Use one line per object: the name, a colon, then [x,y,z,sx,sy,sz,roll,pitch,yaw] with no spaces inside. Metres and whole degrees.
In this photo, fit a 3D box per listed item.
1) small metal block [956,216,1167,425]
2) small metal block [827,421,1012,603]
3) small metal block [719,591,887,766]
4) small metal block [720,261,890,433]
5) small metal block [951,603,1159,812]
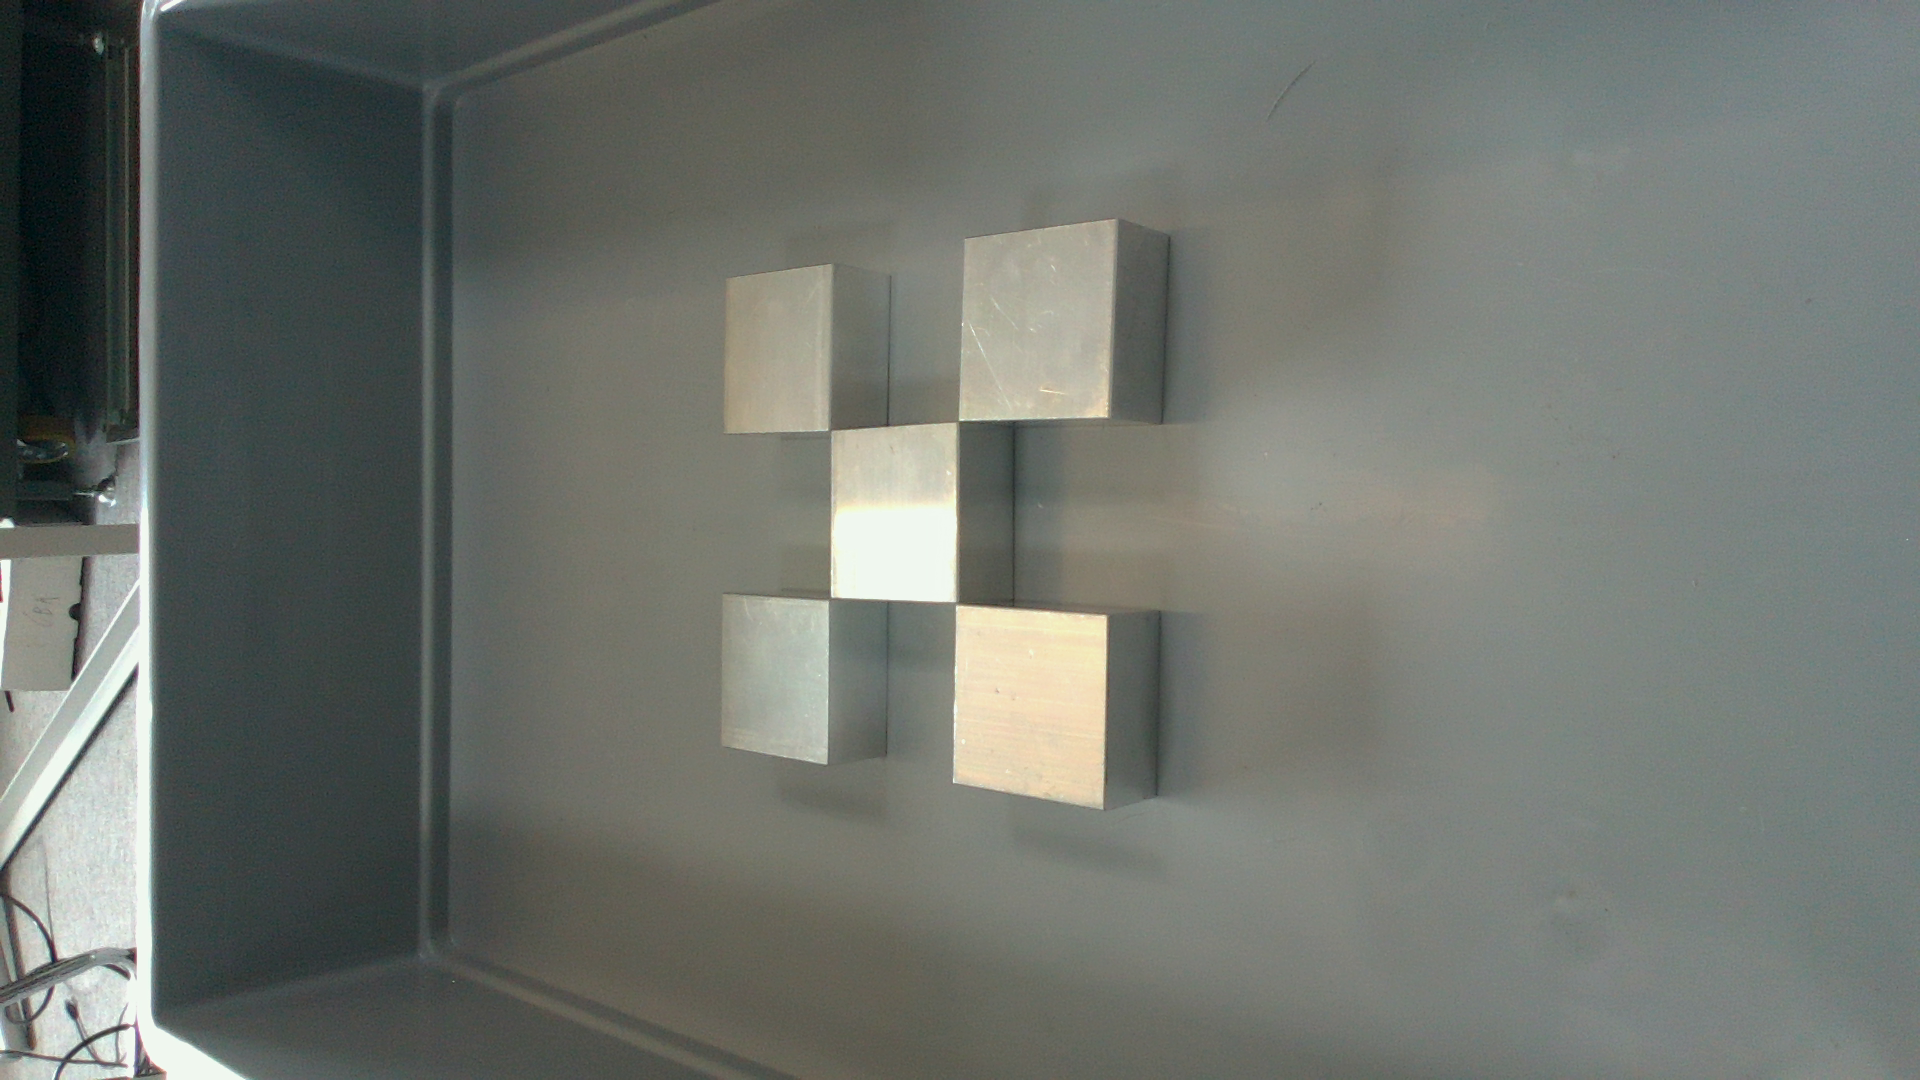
small metal block: [0.027,-0.057,0.370,0.050,0.025,0.050,3,92,40]
small metal block: [-0.012,-0.008,0.402,0.050,0.025,0.050,1,90,40]
small metal block: [-0.050,0.042,0.435,0.050,0.025,0.050,1,91,40]
small metal block: [-0.049,-0.059,0.434,0.050,0.025,0.050,2,91,40]
small metal block: [0.025,0.043,0.371,0.050,0.025,0.050,2,91,40]
